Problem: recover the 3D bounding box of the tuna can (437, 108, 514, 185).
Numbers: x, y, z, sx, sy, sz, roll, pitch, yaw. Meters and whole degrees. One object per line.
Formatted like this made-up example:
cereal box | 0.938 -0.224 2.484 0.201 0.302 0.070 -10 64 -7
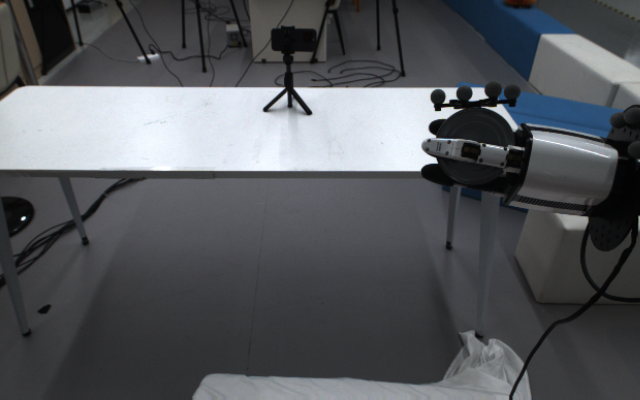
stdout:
tuna can | 0.177 -0.063 0.556 0.085 0.085 0.034 15 10 18
